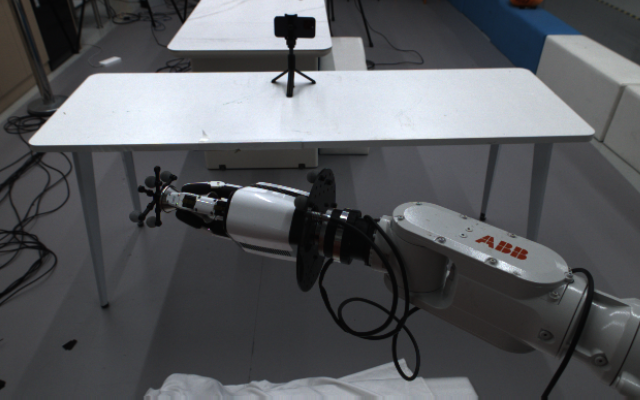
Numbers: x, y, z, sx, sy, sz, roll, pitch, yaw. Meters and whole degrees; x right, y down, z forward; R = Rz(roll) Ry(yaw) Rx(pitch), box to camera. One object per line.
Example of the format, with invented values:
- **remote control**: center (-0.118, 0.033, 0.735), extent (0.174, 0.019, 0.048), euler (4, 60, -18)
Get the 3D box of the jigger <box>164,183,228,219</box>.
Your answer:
- **jigger**: center (-0.174, 0.002, 0.664), extent (0.071, 0.043, 0.043), euler (10, 35, 16)
